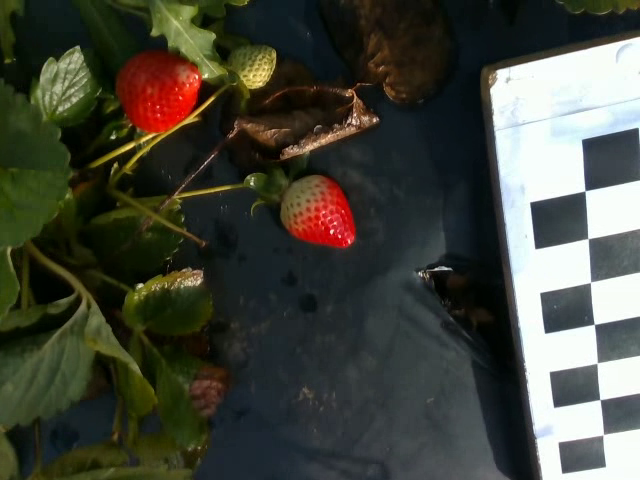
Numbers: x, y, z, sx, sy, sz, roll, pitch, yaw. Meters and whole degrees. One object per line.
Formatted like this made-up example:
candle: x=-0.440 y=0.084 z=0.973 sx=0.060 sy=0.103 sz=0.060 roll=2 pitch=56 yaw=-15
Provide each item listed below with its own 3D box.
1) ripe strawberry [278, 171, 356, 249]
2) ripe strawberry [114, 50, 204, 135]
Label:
ripe strawberry: x=0.000 y=-0.011 z=0.287 sx=0.043 sy=0.035 sz=0.030 roll=38 pitch=17 yaw=-11
ripe strawberry: x=-0.068 y=-0.064 z=0.261 sx=0.048 sy=0.040 sz=0.031 roll=-5 pitch=32 yaw=48
